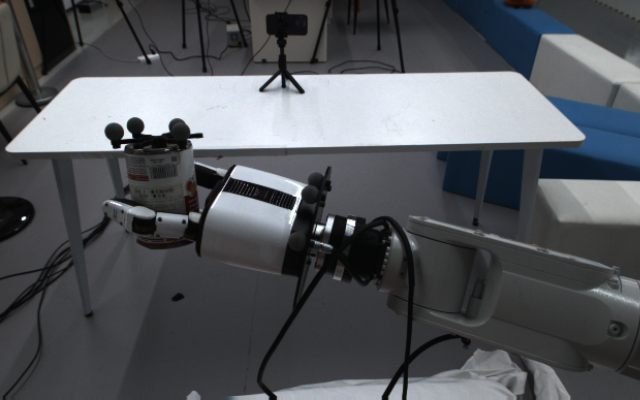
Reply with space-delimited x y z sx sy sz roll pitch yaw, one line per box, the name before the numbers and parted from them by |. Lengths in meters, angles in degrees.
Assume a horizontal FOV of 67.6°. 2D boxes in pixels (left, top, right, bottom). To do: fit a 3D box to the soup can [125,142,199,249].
soup can | -0.160 -0.007 0.501 0.067 0.101 0.067 -1 17 0
